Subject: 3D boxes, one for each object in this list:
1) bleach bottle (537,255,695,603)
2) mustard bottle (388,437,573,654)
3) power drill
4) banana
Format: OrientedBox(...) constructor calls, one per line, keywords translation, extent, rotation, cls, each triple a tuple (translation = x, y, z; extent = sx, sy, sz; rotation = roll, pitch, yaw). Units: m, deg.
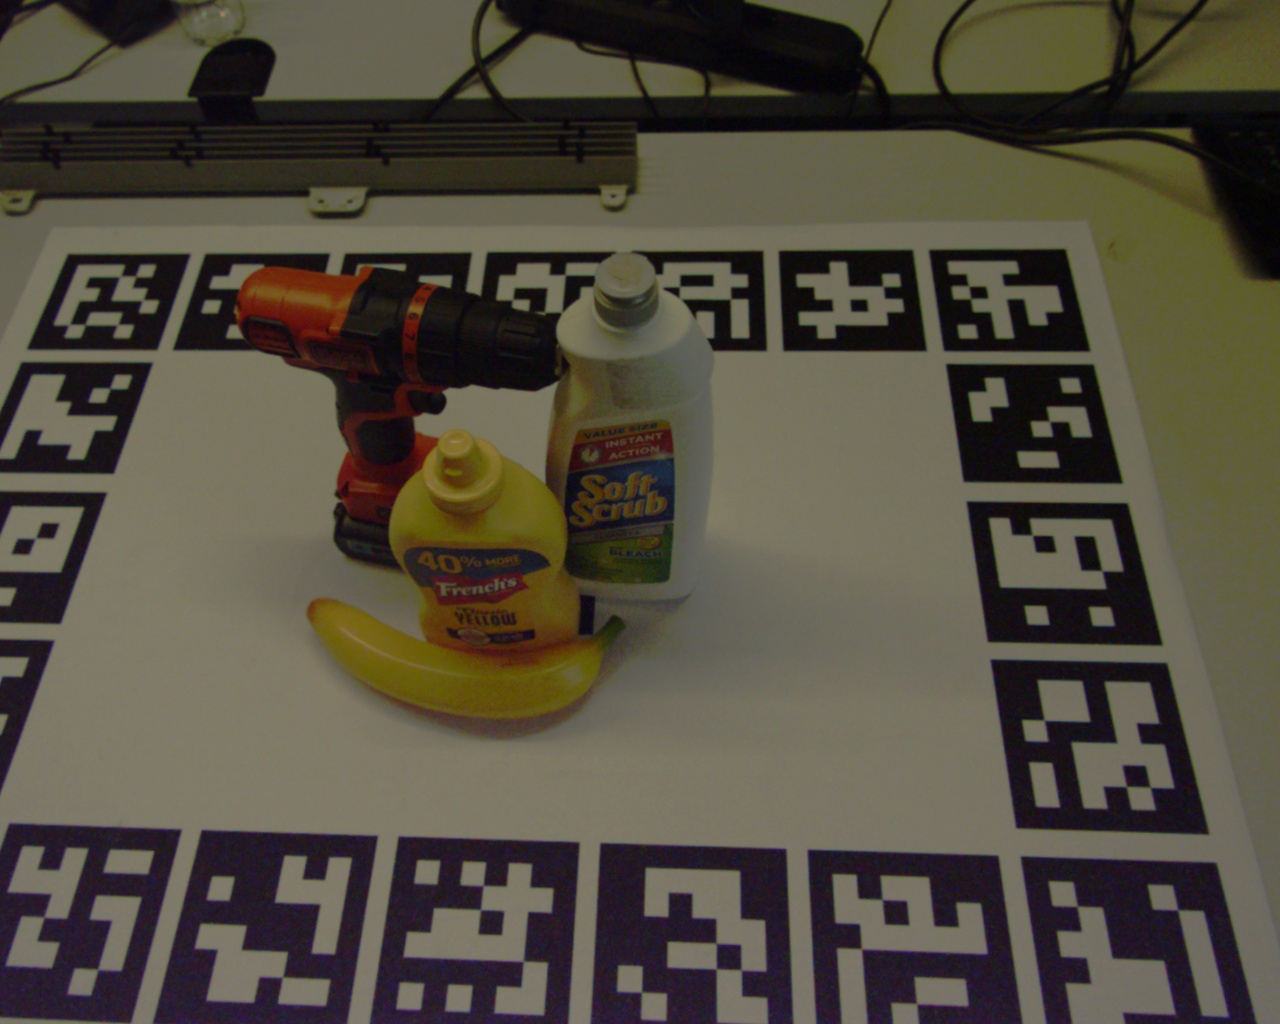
OrientedBox(translation=(-0.020, -0.042, 0.657), extent=(0.103, 0.249, 0.068), rotation=(4, 53, 5), cls="bleach bottle")
OrientedBox(translation=(-0.092, 0.019, 0.652), extent=(0.096, 0.191, 0.058), rotation=(2, 58, 3), cls="mustard bottle")
OrientedBox(translation=(-0.130, -0.053, 0.675), extent=(0.185, 0.186, 0.057), rotation=(13, 58, 9), cls="power drill")
OrientedBox(translation=(-0.111, 0.088, 0.710), extent=(0.198, 0.038, 0.074), rotation=(4, 60, 9), cls="banana")
